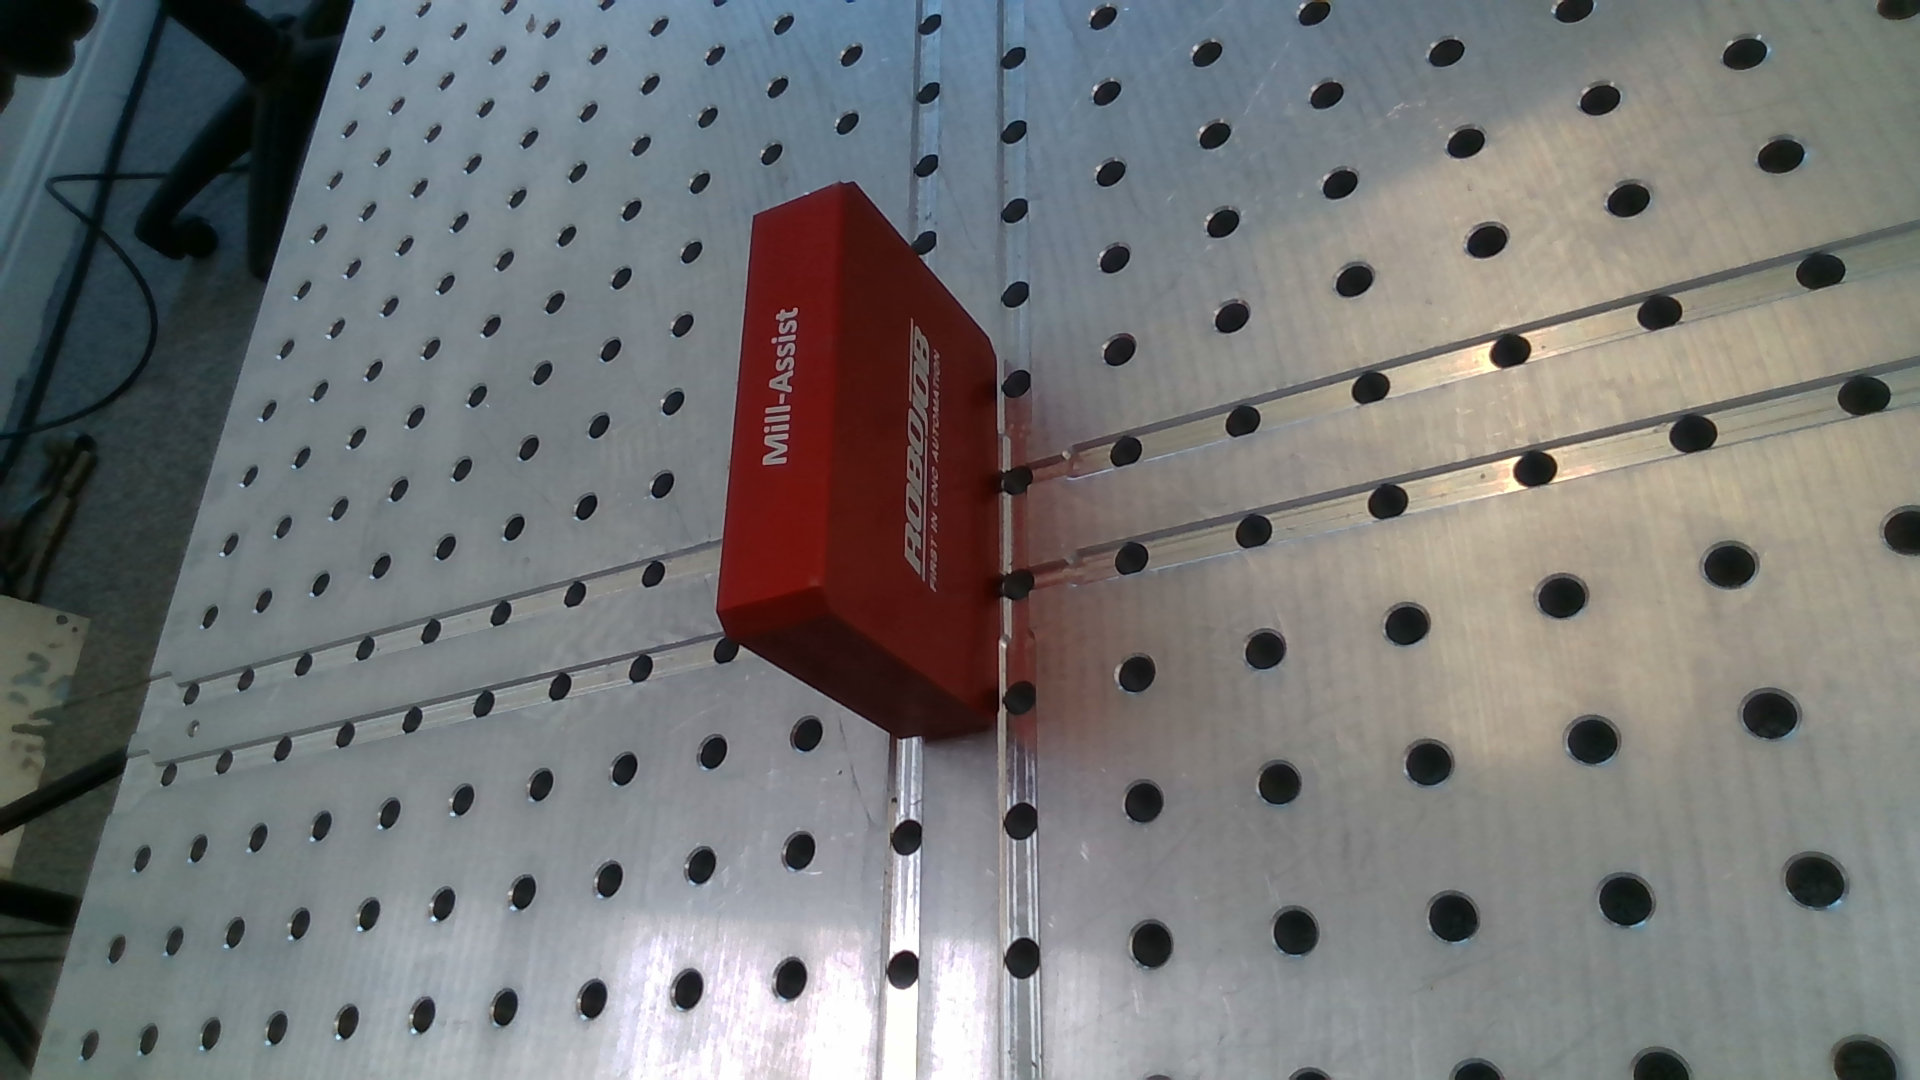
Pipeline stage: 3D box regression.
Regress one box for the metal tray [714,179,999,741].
[{"bbox_3d":[-0.023,-0.021,0.379,0.030,0.090,0.130,-14,59,25],"label":"metal tray"}]
